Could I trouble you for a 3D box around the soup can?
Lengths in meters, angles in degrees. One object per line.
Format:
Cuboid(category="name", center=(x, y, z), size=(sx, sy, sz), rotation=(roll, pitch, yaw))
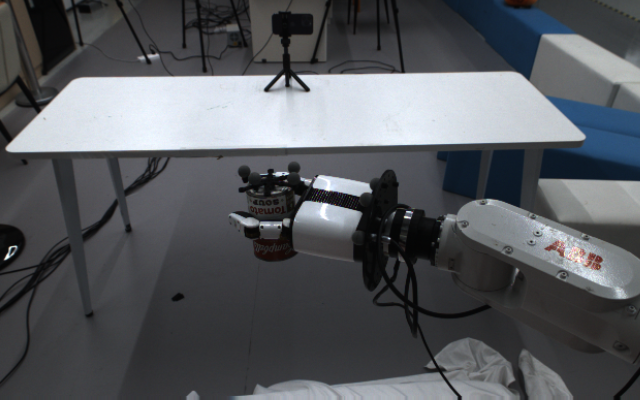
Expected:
Cuboid(category="soup can", center=(-0.064, 0.026, 0.676), size=(0.067, 0.101, 0.067), rotation=(-4, 26, 2))
